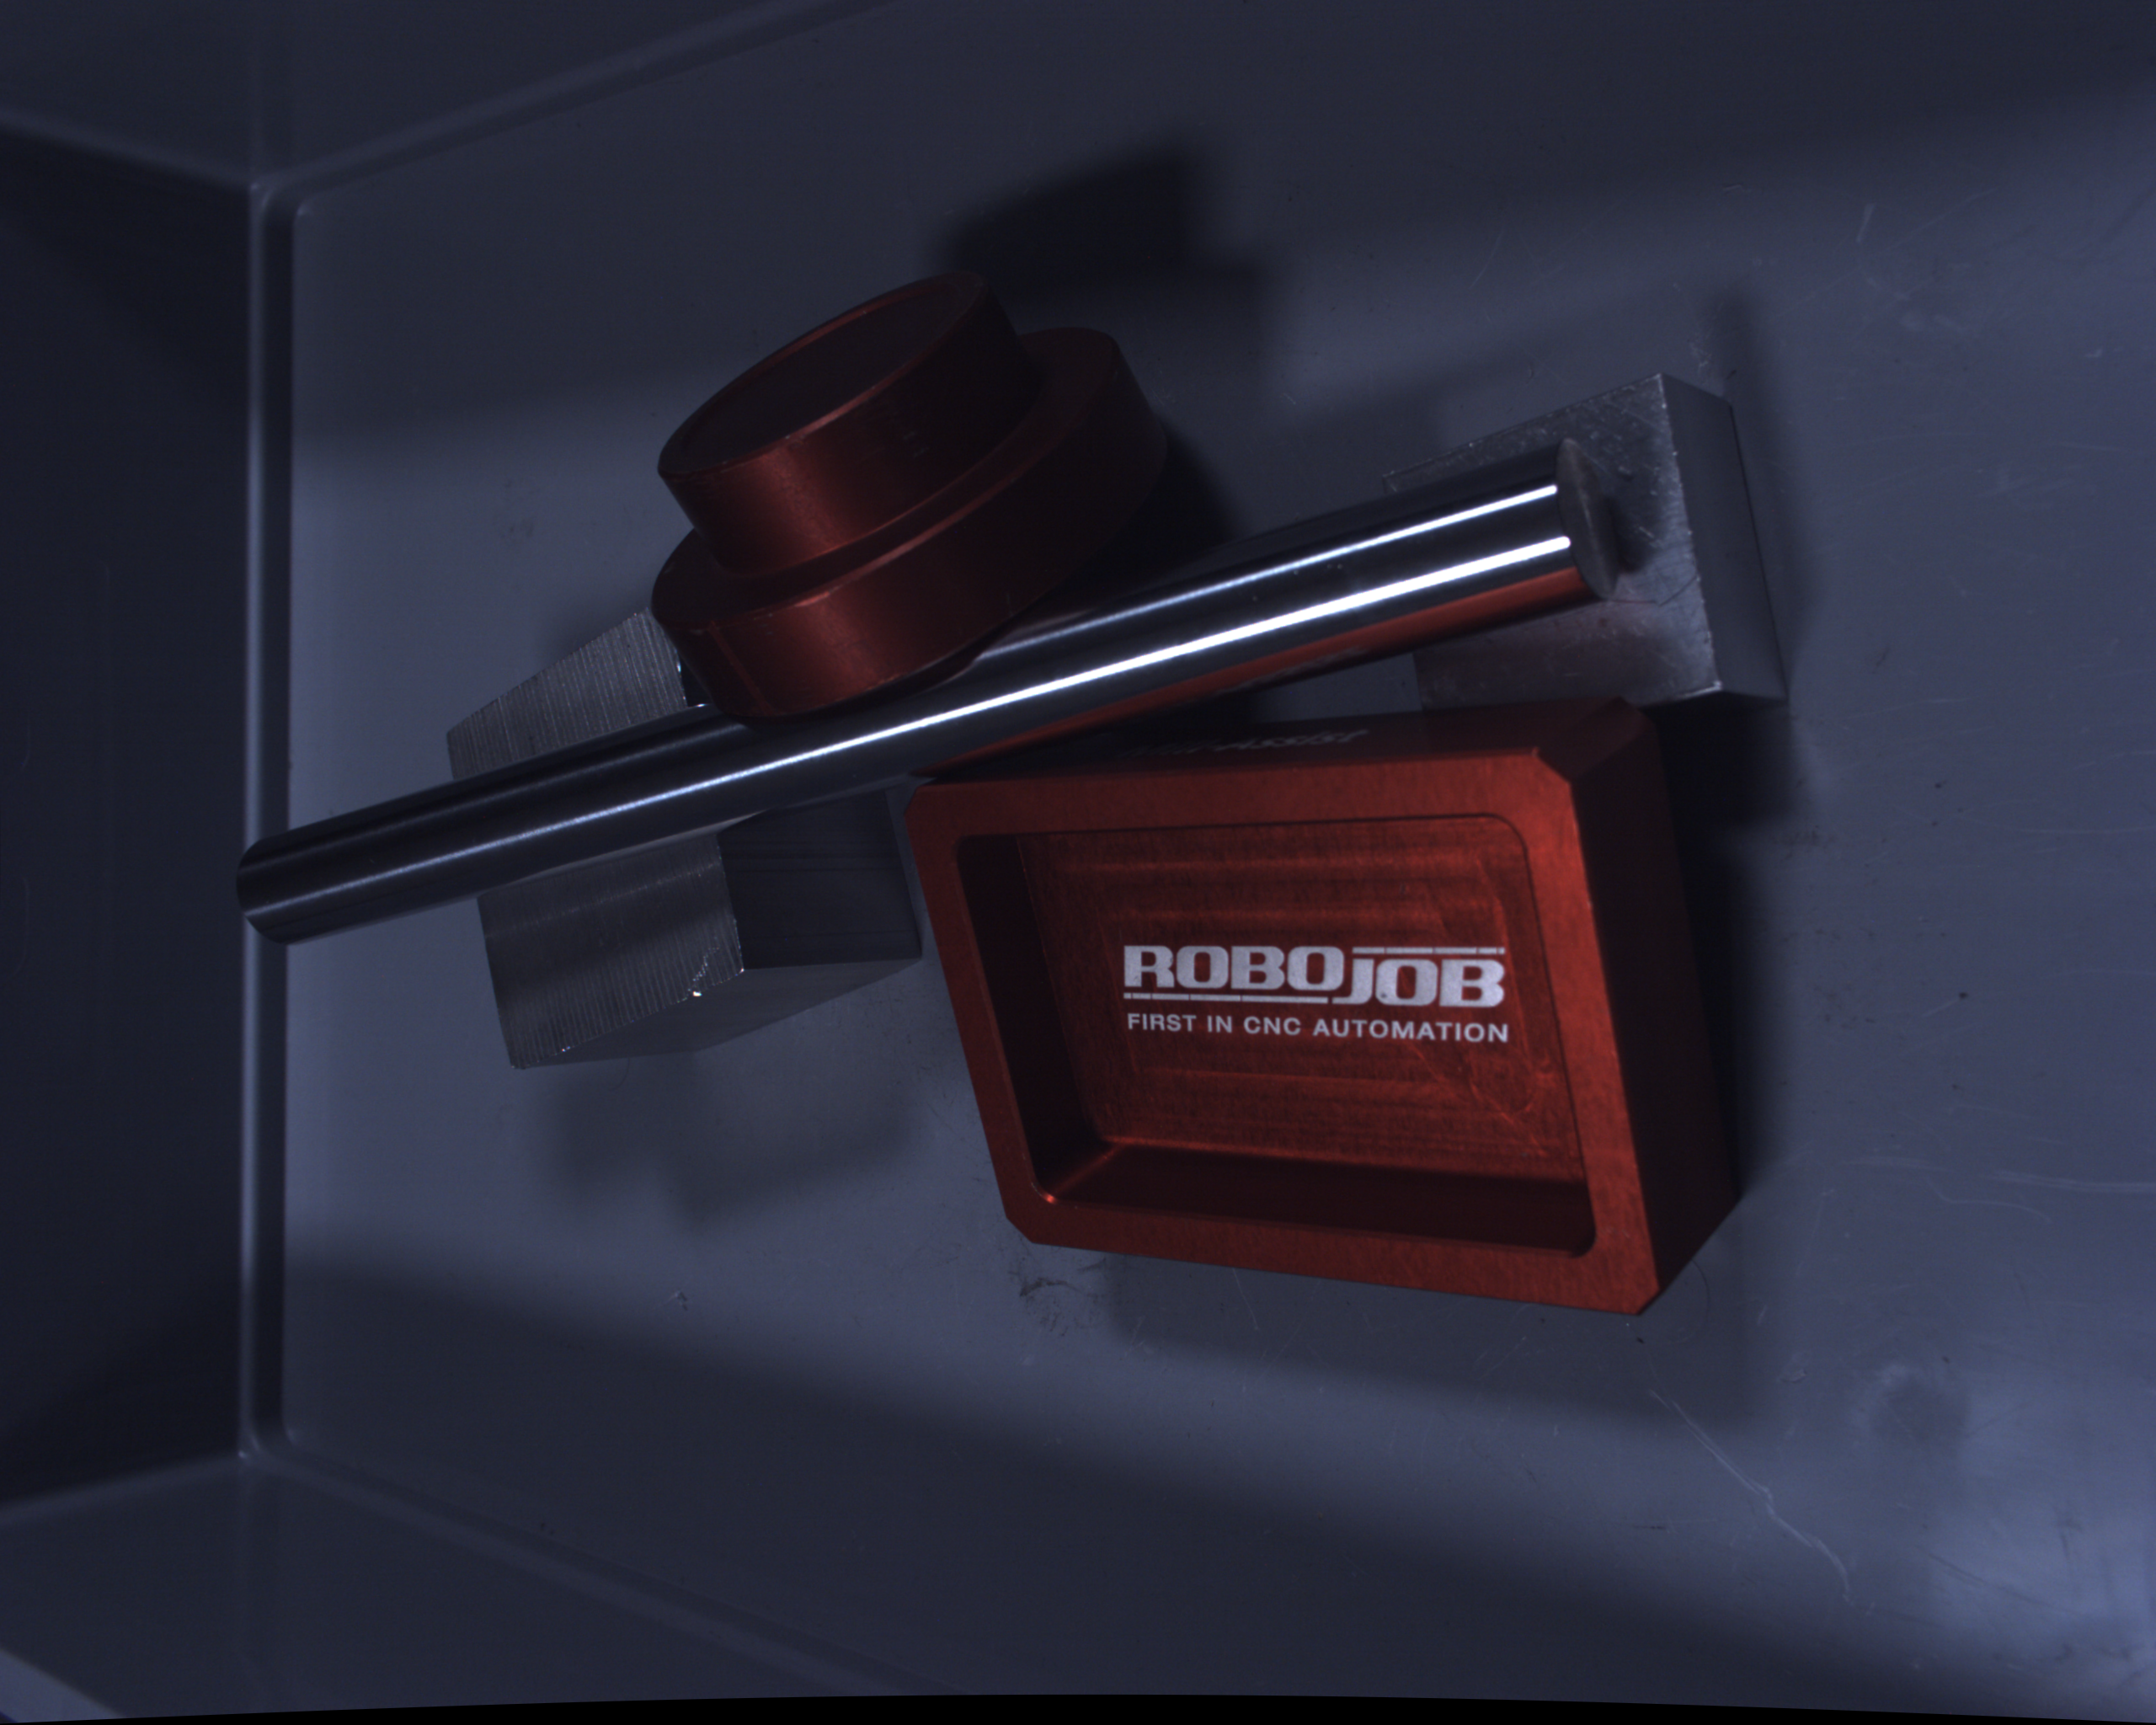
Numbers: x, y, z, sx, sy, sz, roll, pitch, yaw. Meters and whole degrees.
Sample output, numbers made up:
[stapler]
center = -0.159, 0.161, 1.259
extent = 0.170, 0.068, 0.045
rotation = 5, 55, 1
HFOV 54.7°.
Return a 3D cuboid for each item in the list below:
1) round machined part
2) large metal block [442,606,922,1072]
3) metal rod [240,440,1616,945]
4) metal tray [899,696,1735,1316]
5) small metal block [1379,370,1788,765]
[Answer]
[round machined part]
center = -0.037, -0.072, 0.383
extent = 0.098, 0.098, 0.042
rotation = -6, 127, 39
[large metal block]
center = -0.088, -0.004, 0.458
extent = 0.080, 0.050, 0.080
rotation = -23, 76, 37
[metal rod]
center = -0.050, -0.022, 0.386
extent = 0.300, 0.025, 0.025
rotation = -13, 82, 31
[metal tray]
center = 0.036, 0.023, 0.352
extent = 0.130, 0.030, 0.089
rotation = -2, 108, 39
[small metal block]
center = 0.081, -0.045, 0.337
extent = 0.050, 0.025, 0.050
rotation = -15, 81, 38
